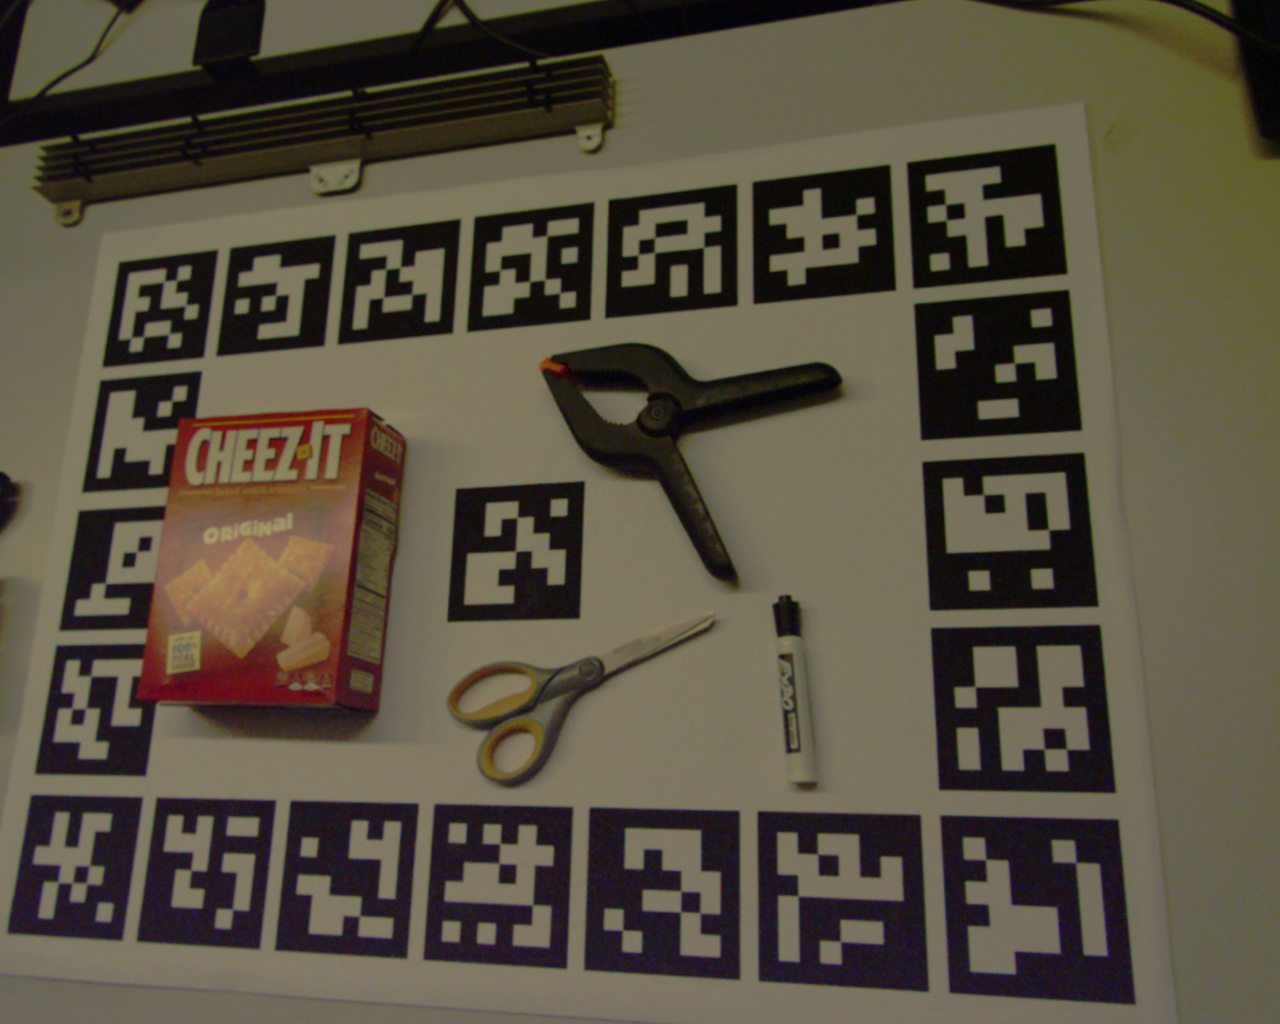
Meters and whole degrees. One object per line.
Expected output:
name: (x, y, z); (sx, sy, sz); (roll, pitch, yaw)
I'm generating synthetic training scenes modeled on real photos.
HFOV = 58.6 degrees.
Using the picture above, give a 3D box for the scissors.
scissors: (-0.048, 0.121, 0.813); (0.203, 0.016, 0.088); (-30, 67, 4)

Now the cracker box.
cracker box: (-0.277, 0.048, 0.876); (0.165, 0.071, 0.214); (-2, 73, 16)

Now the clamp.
clamp: (0.006, -0.061, 0.857); (0.205, 0.036, 0.165); (28, 82, 21)

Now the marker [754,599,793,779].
marker: (0.090, 0.119, 0.772); (0.020, 0.019, 0.121); (-7, 71, 14)
